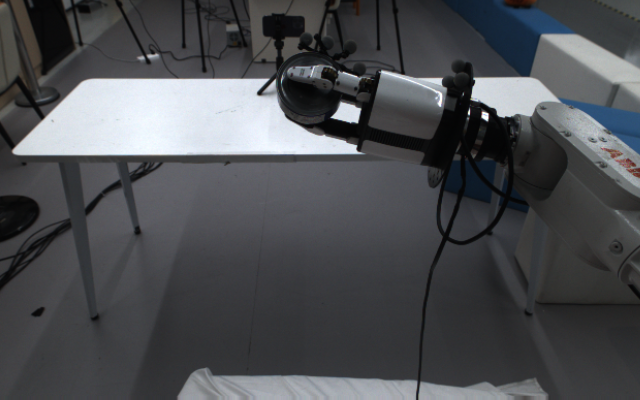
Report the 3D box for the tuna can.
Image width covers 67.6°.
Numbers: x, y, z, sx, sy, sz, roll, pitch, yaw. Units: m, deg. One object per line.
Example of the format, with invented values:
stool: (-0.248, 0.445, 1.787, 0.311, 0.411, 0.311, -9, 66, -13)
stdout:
tuna can: (-0.013, -0.141, 0.613, 0.085, 0.034, 0.085, 1, 75, -4)
